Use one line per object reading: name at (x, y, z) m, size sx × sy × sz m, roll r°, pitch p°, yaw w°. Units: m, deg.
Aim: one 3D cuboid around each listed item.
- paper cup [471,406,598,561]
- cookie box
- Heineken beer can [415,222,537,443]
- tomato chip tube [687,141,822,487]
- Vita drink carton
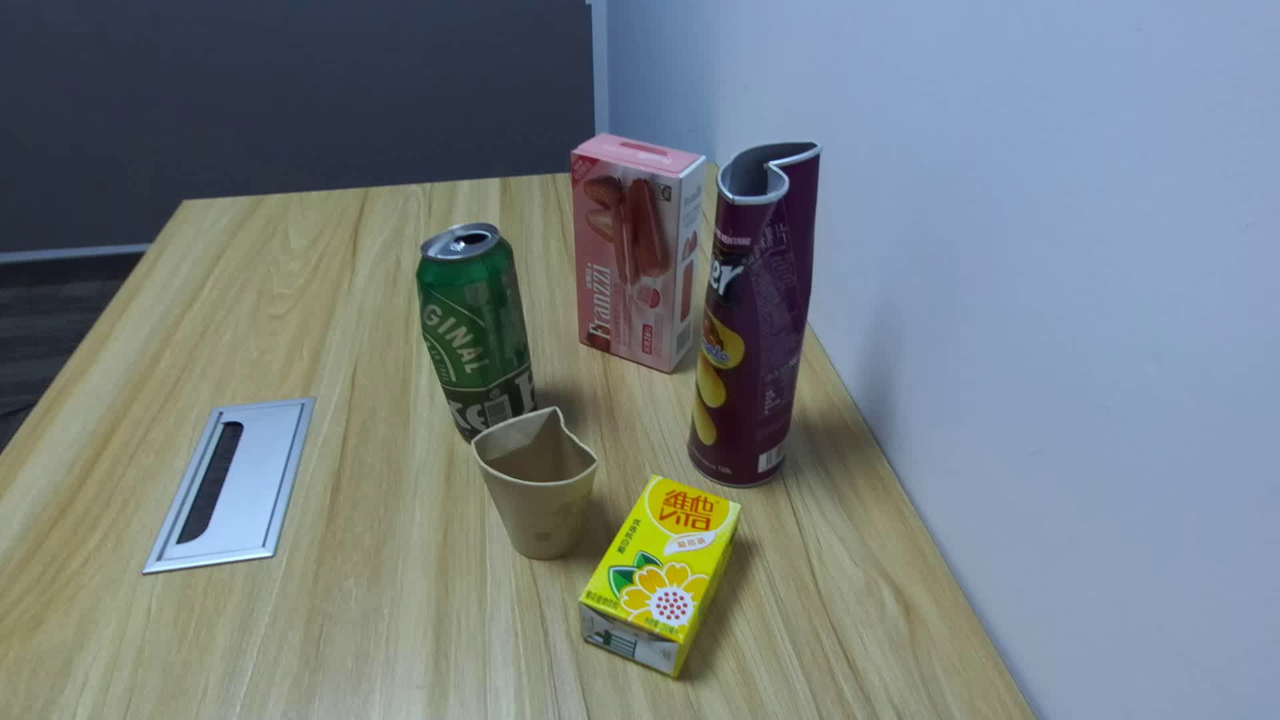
paper cup at (-0.066, 0.087, 0.465) m, size 0.066 × 0.084 × 0.071 m, roll -21°, pitch 43°, yaw -24°
cookie box at (-0.002, -0.084, 0.588) m, size 0.096 × 0.185 × 0.048 m, roll 19°, pitch 42°, yaw 21°
Heineken beer can at (-0.119, -0.014, 0.526) m, size 0.068 × 0.168 × 0.069 m, roll -9°, pitch 36°, yaw -7°
tomato chip tube at (0.077, -0.018, 0.473) m, size 0.078 × 0.235 × 0.076 m, roll -4°, pitch 39°, yaw -6°
Vita drink carton at (0.016, 0.131, 0.442) m, size 0.066 × 0.043 × 0.109 m, roll 17°, pitch 41°, yaw 17°
